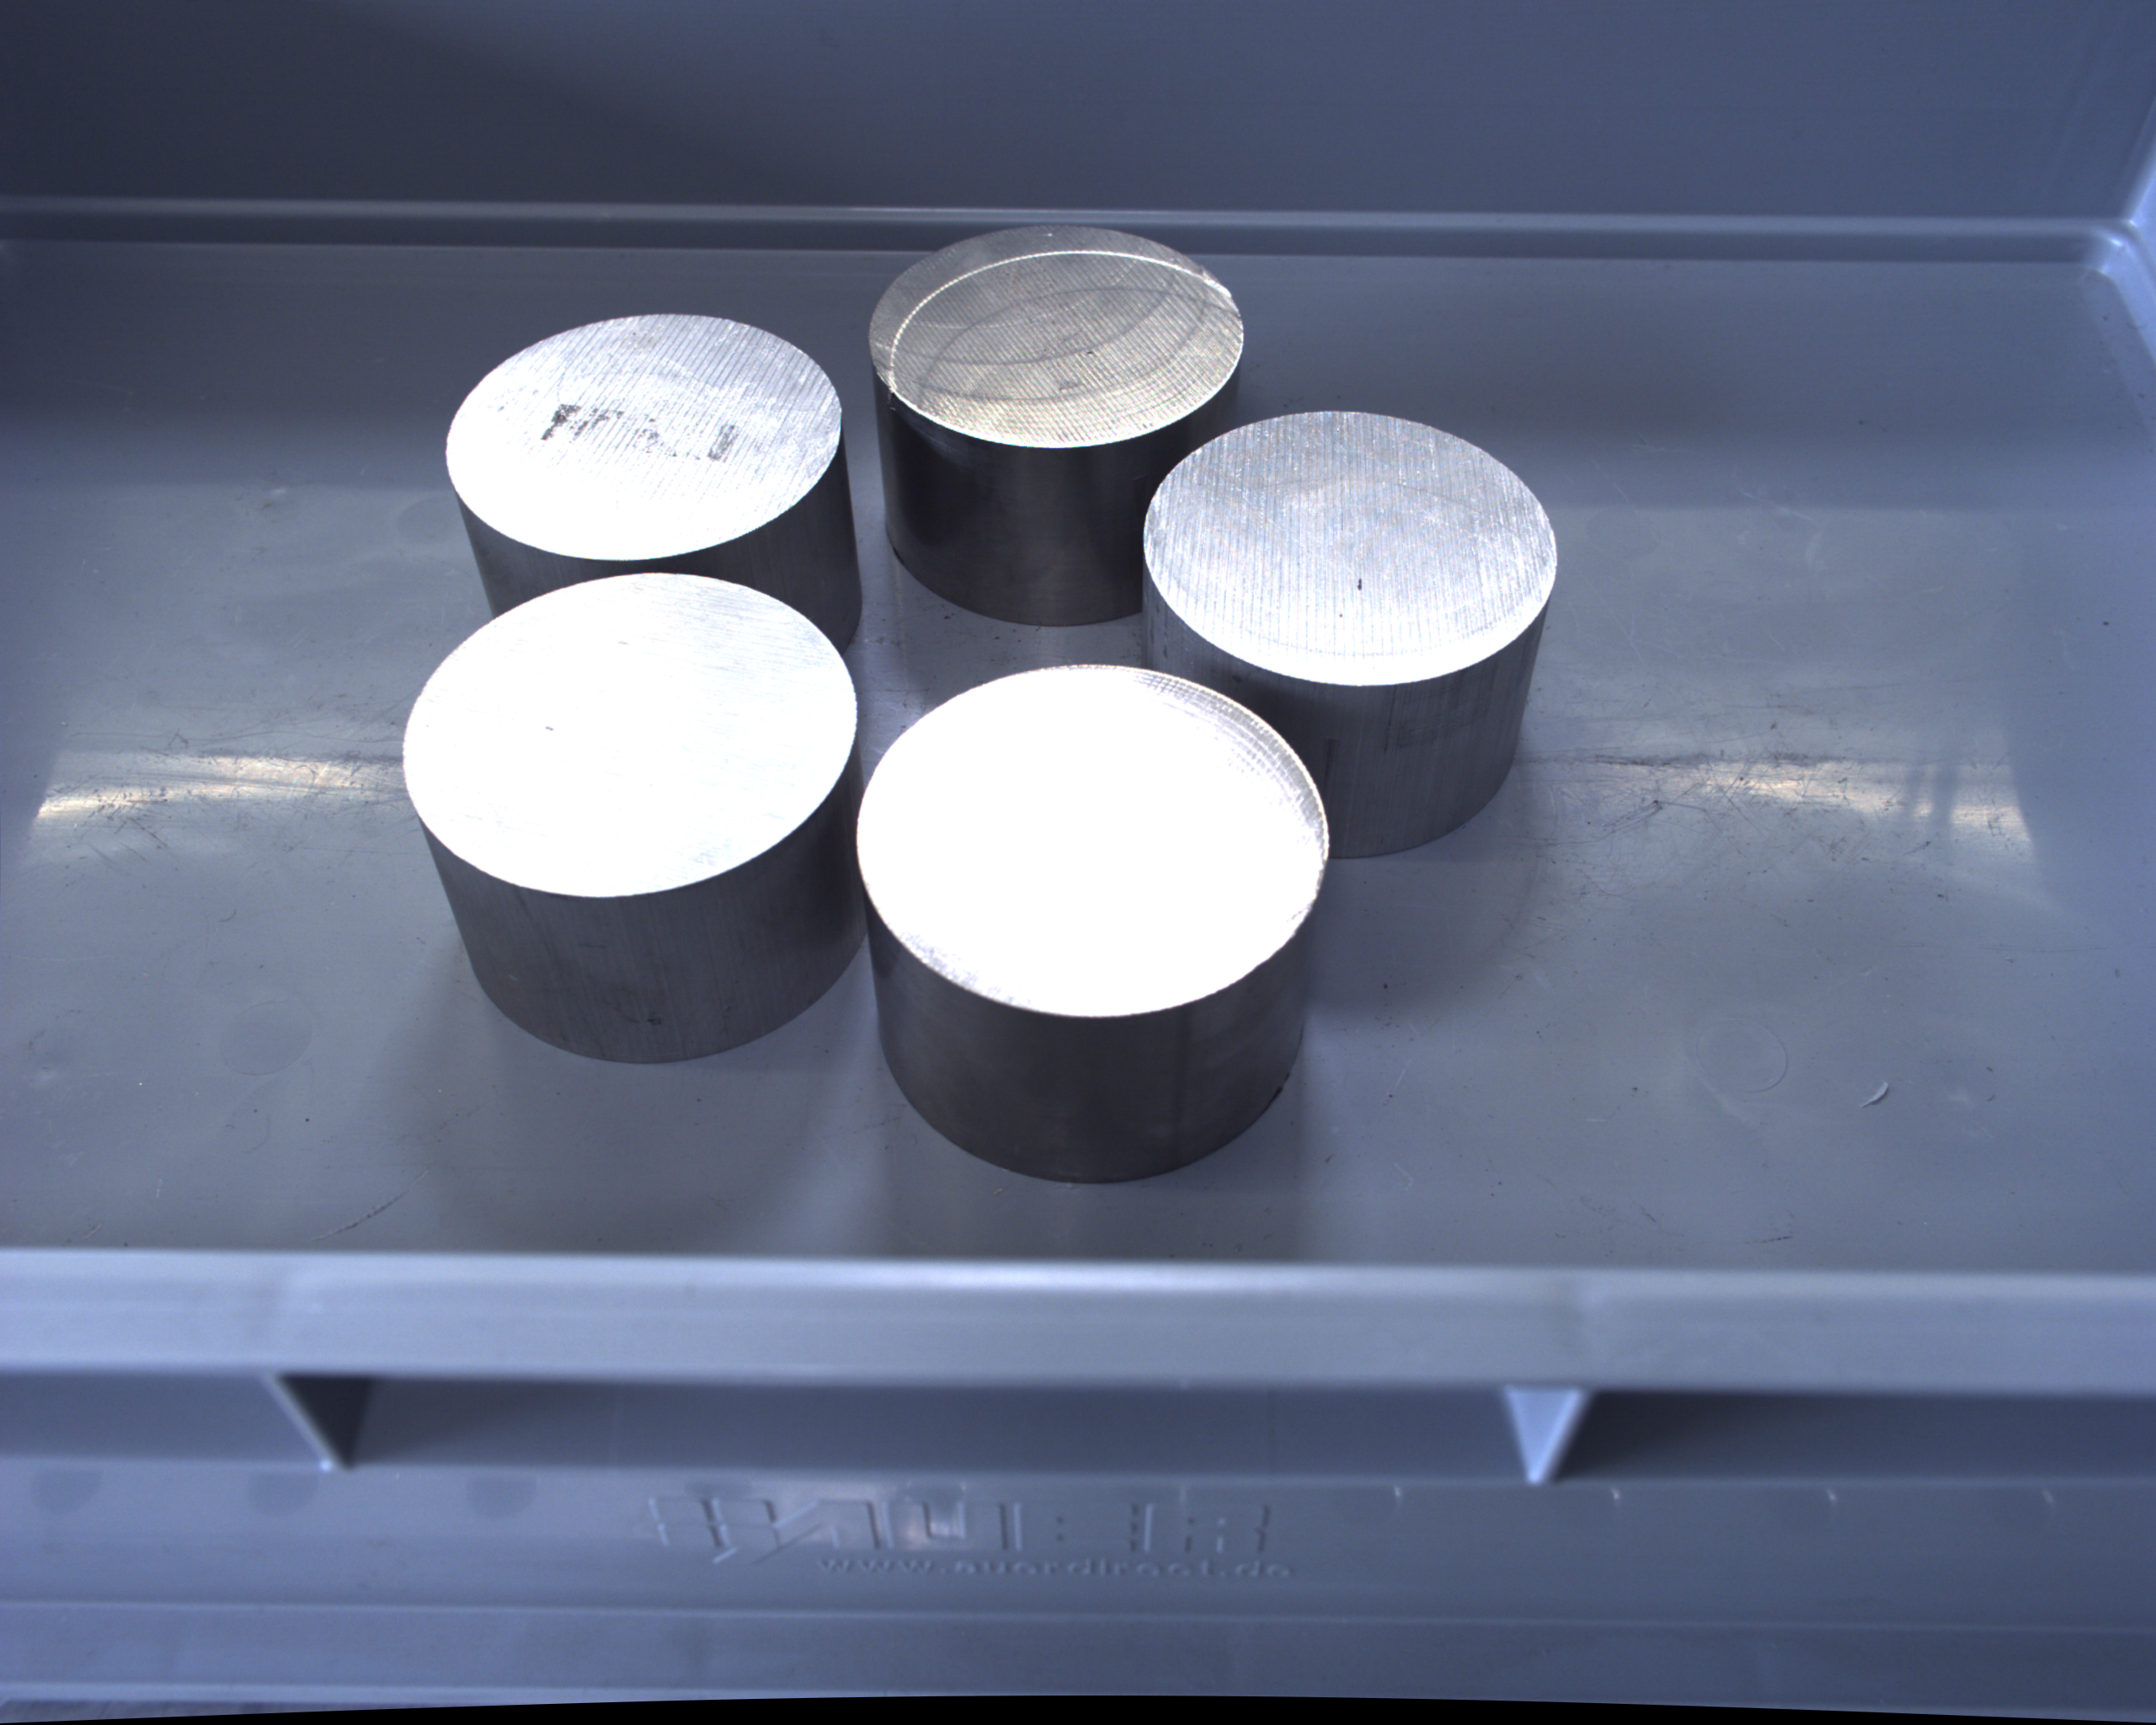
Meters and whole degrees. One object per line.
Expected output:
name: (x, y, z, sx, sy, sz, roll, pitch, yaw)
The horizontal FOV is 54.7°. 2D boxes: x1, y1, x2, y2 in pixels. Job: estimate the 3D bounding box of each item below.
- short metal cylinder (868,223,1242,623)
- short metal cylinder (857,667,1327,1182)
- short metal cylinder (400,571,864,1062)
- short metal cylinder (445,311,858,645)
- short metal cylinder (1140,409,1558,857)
short metal cylinder: (-0.005, -0.100, 0.470, 0.080, 0.050, 0.080, 0, 50, 0)
short metal cylinder: (0.003, 0.010, 0.377, 0.080, 0.050, 0.080, 0, 50, 0)
short metal cylinder: (-0.080, -0.009, 0.393, 0.080, 0.050, 0.080, 0, 50, 0)
short metal cylinder: (-0.089, -0.074, 0.447, 0.080, 0.050, 0.080, 0, 50, 0)
short metal cylinder: (0.053, -0.048, 0.426, 0.080, 0.050, 0.080, 0, 50, 0)
